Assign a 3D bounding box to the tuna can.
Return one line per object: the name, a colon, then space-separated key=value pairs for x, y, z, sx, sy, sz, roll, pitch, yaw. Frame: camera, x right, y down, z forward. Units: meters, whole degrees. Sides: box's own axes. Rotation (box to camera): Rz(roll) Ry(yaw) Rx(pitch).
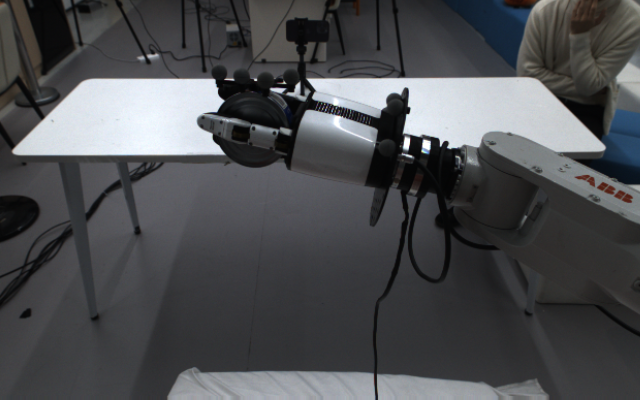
tuna can: x=-0.071 y=-0.082 z=0.548 sx=0.085 sy=0.085 sz=0.034 roll=6 pitch=23 yaw=6
